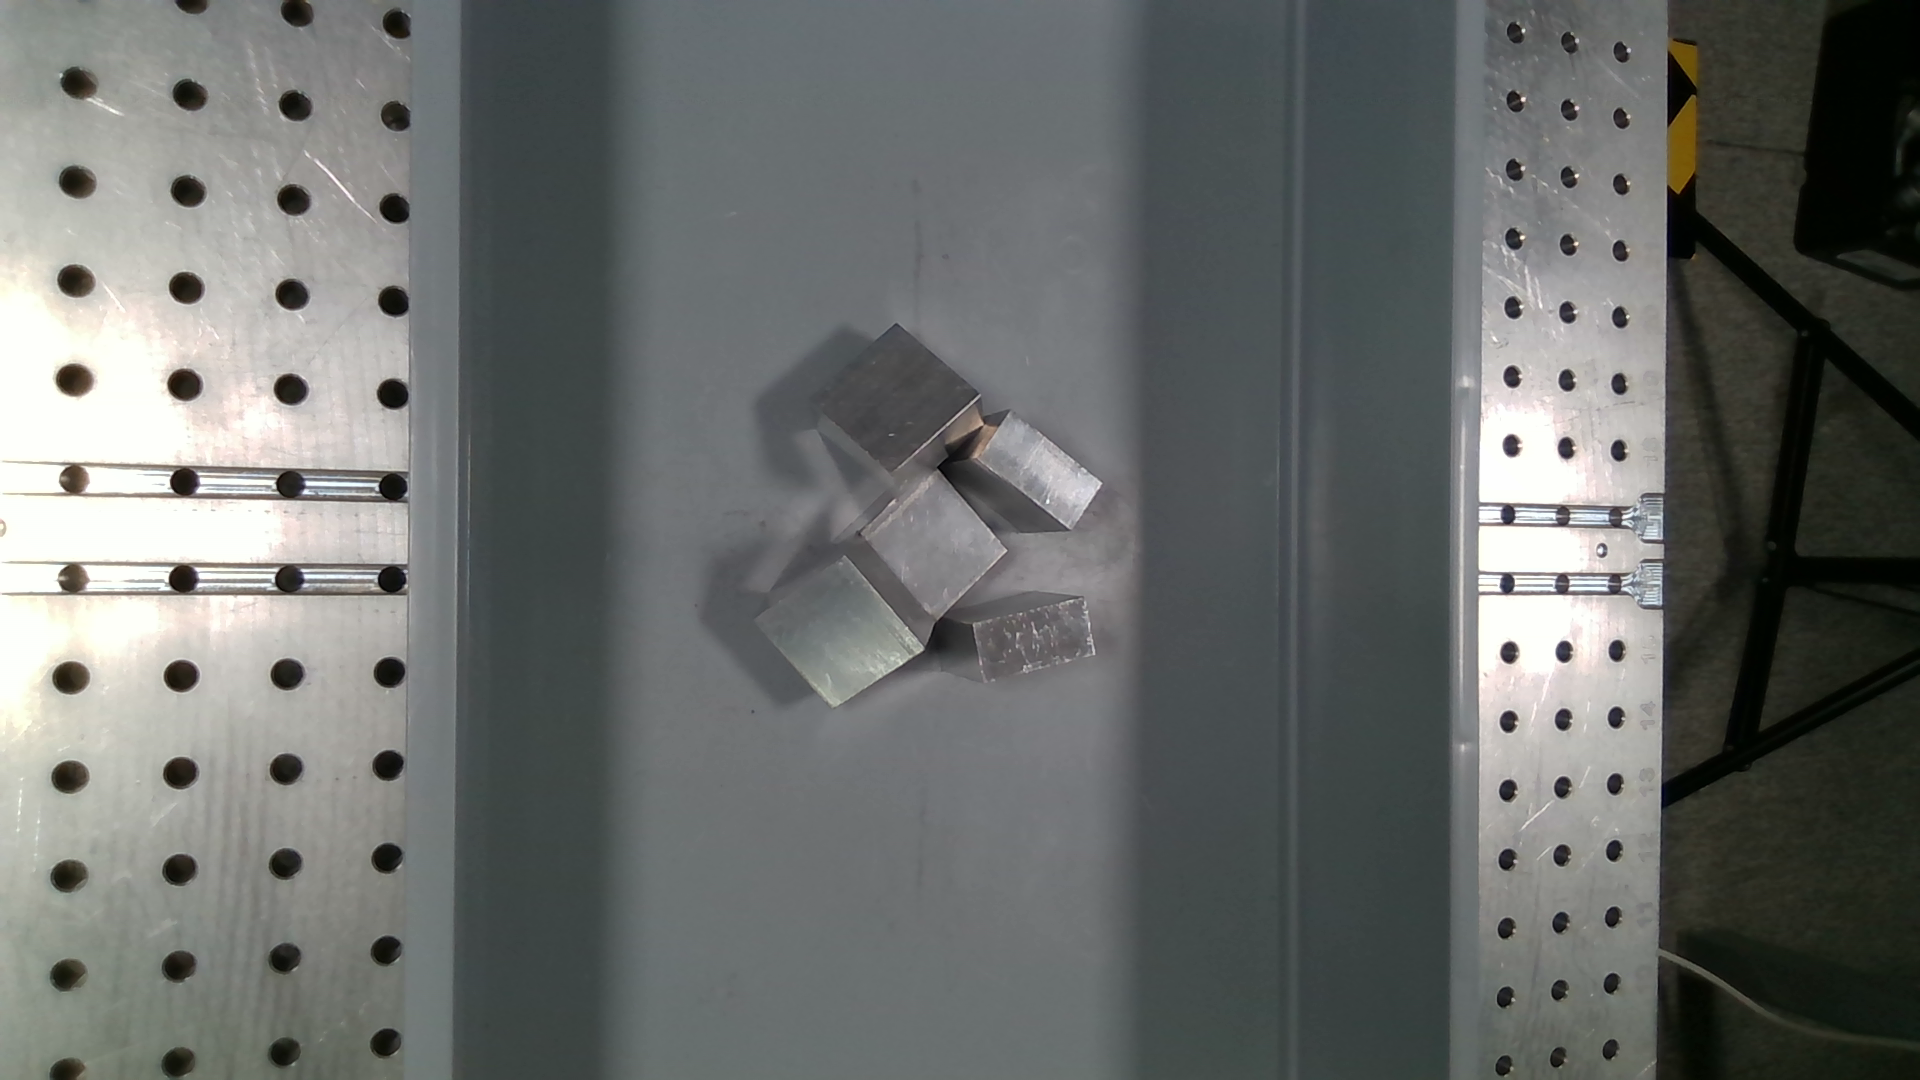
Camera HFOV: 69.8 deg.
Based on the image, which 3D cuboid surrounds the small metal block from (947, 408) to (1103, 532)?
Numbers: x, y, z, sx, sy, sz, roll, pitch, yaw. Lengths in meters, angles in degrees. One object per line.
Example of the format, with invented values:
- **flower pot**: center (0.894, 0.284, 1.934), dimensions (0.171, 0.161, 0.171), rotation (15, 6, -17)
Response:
- **small metal block**: center (0.024, -0.028, 0.579), dimensions (0.050, 0.050, 0.025), rotation (38, 77, -16)

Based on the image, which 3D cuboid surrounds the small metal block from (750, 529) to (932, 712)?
- **small metal block**: center (-0.047, 0.033, 0.554), dimensions (0.050, 0.025, 0.050), rotation (-34, 105, 21)

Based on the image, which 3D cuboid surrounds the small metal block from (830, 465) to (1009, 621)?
- **small metal block**: center (-0.017, 0.002, 0.578), dimensions (0.050, 0.025, 0.050), rotation (-44, 104, -15)

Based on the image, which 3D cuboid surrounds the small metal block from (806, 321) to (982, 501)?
- **small metal block**: center (-0.026, -0.053, 0.563), dimensions (0.050, 0.025, 0.050), rotation (-43, 71, -15)

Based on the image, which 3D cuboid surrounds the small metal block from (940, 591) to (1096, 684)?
- **small metal block**: center (0.022, 0.040, 0.579), dimensions (0.050, 0.050, 0.025), rotation (-12, 95, -20)
